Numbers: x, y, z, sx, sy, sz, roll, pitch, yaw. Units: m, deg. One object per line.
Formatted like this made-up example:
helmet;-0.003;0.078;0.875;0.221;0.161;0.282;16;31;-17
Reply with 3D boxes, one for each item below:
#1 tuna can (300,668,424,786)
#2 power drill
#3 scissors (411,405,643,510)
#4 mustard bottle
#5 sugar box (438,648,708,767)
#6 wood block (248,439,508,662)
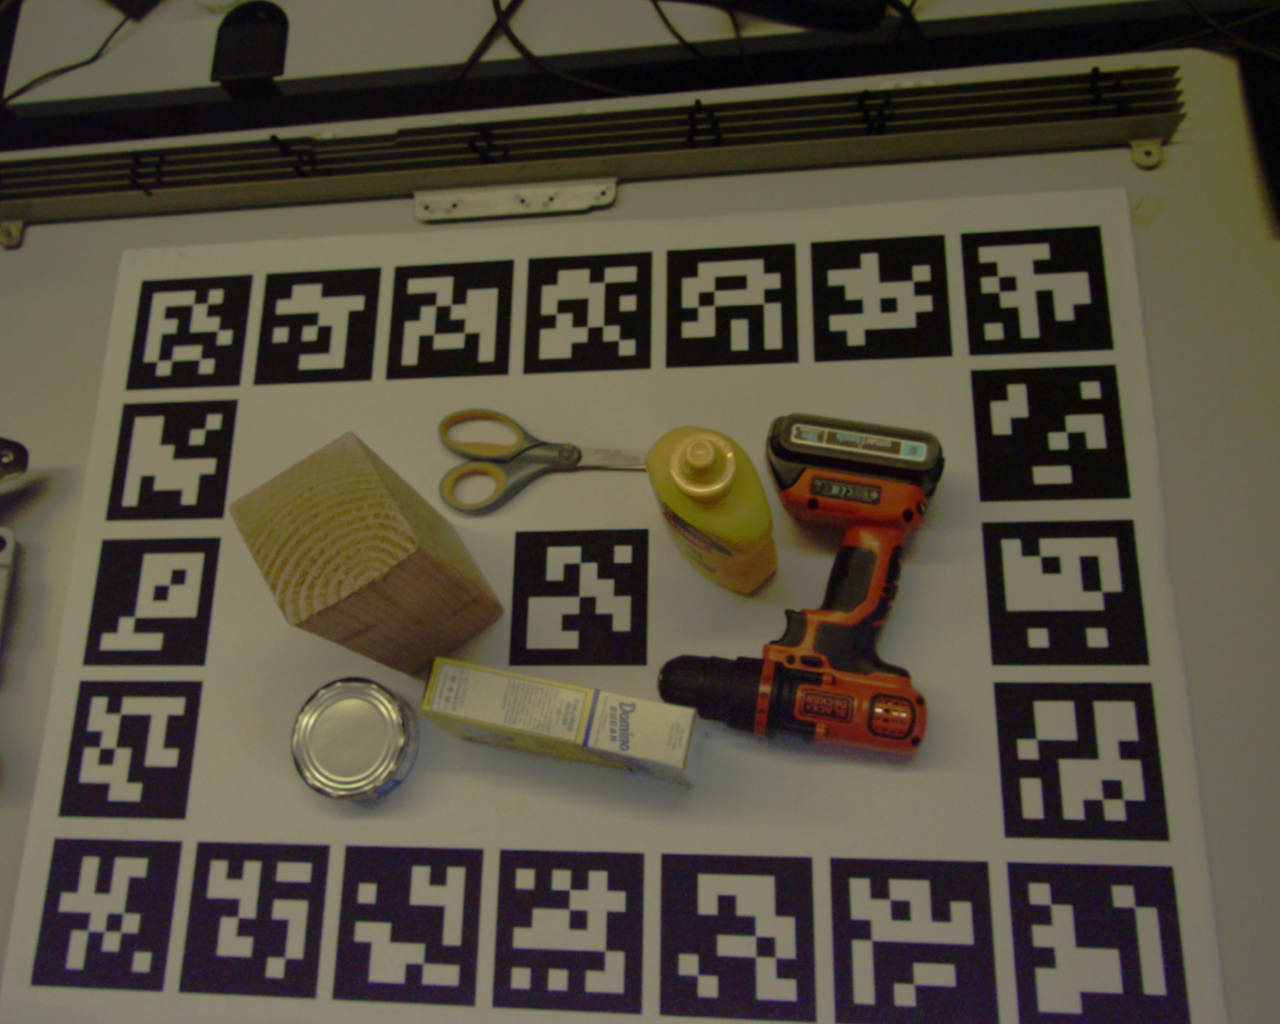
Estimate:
tuna can;-0.204;0.159;0.842;0.086;0.033;0.086;-2;76;8
power drill;0.100;0.052;0.813;0.186;0.057;0.187;11;84;12
scissors;-0.083;-0.044;0.890;0.204;0.016;0.088;0;71;9
mustard bottle;0.045;-0.010;0.778;0.058;0.190;0.097;-41;75;-3
sugar box;-0.043;0.138;0.796;0.177;0.092;0.045;10;73;10
wood block;-0.173;0.034;0.795;0.091;0.205;0.090;-30;74;0
